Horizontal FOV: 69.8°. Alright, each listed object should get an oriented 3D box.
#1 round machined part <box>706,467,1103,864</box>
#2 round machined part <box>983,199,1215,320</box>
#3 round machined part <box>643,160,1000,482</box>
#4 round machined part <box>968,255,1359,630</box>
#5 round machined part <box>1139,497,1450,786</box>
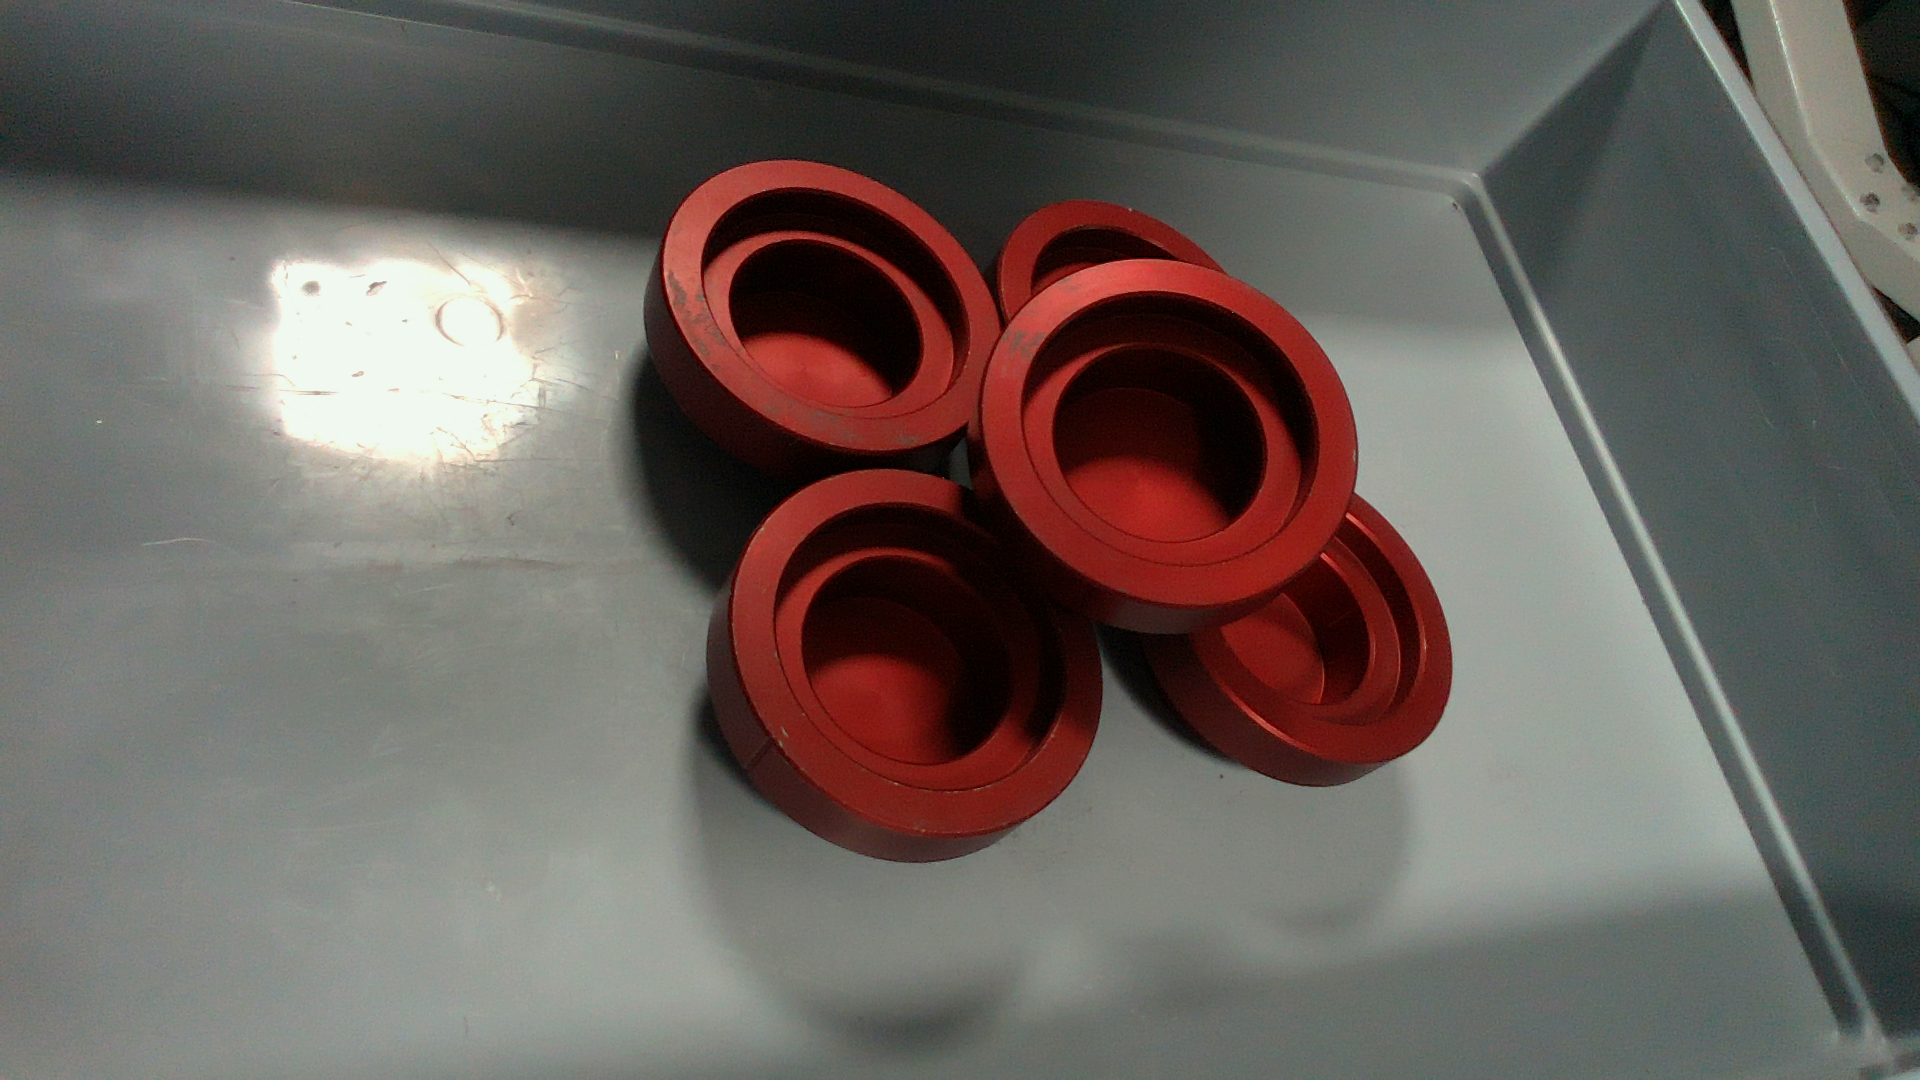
[{"bbox_3d":[-0.017,0.034,0.347,0.098,0.042,0.098,14,56,-21],"label":"round machined part"},{"bbox_3d":[0.047,-0.056,0.437,0.098,0.042,0.098,14,56,-21],"label":"round machined part"},{"bbox_3d":[-0.041,-0.056,0.389,0.098,0.042,0.098,14,56,-21],"label":"round machined part"},{"bbox_3d":[0.050,-0.022,0.363,0.098,0.042,0.098,3,67,-7],"label":"round machined part"},{"bbox_3d":[0.093,0.027,0.411,0.098,0.042,0.098,14,56,-21],"label":"round machined part"}]
